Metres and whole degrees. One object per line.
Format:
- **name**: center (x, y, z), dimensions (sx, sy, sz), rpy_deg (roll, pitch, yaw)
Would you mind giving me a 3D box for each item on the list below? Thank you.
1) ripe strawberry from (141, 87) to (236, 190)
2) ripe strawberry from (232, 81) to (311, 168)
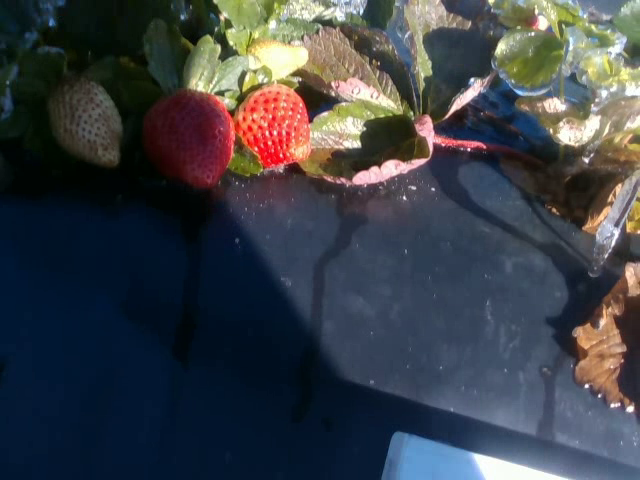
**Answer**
- **ripe strawberry**: center (-0.045, -0.032, 0.218), dimensions (0.036, 0.040, 0.052), rpy_deg (-20, 37, -9)
- **ripe strawberry**: center (-0.016, -0.046, 0.242), dimensions (0.041, 0.036, 0.030), rpy_deg (41, -15, 15)
